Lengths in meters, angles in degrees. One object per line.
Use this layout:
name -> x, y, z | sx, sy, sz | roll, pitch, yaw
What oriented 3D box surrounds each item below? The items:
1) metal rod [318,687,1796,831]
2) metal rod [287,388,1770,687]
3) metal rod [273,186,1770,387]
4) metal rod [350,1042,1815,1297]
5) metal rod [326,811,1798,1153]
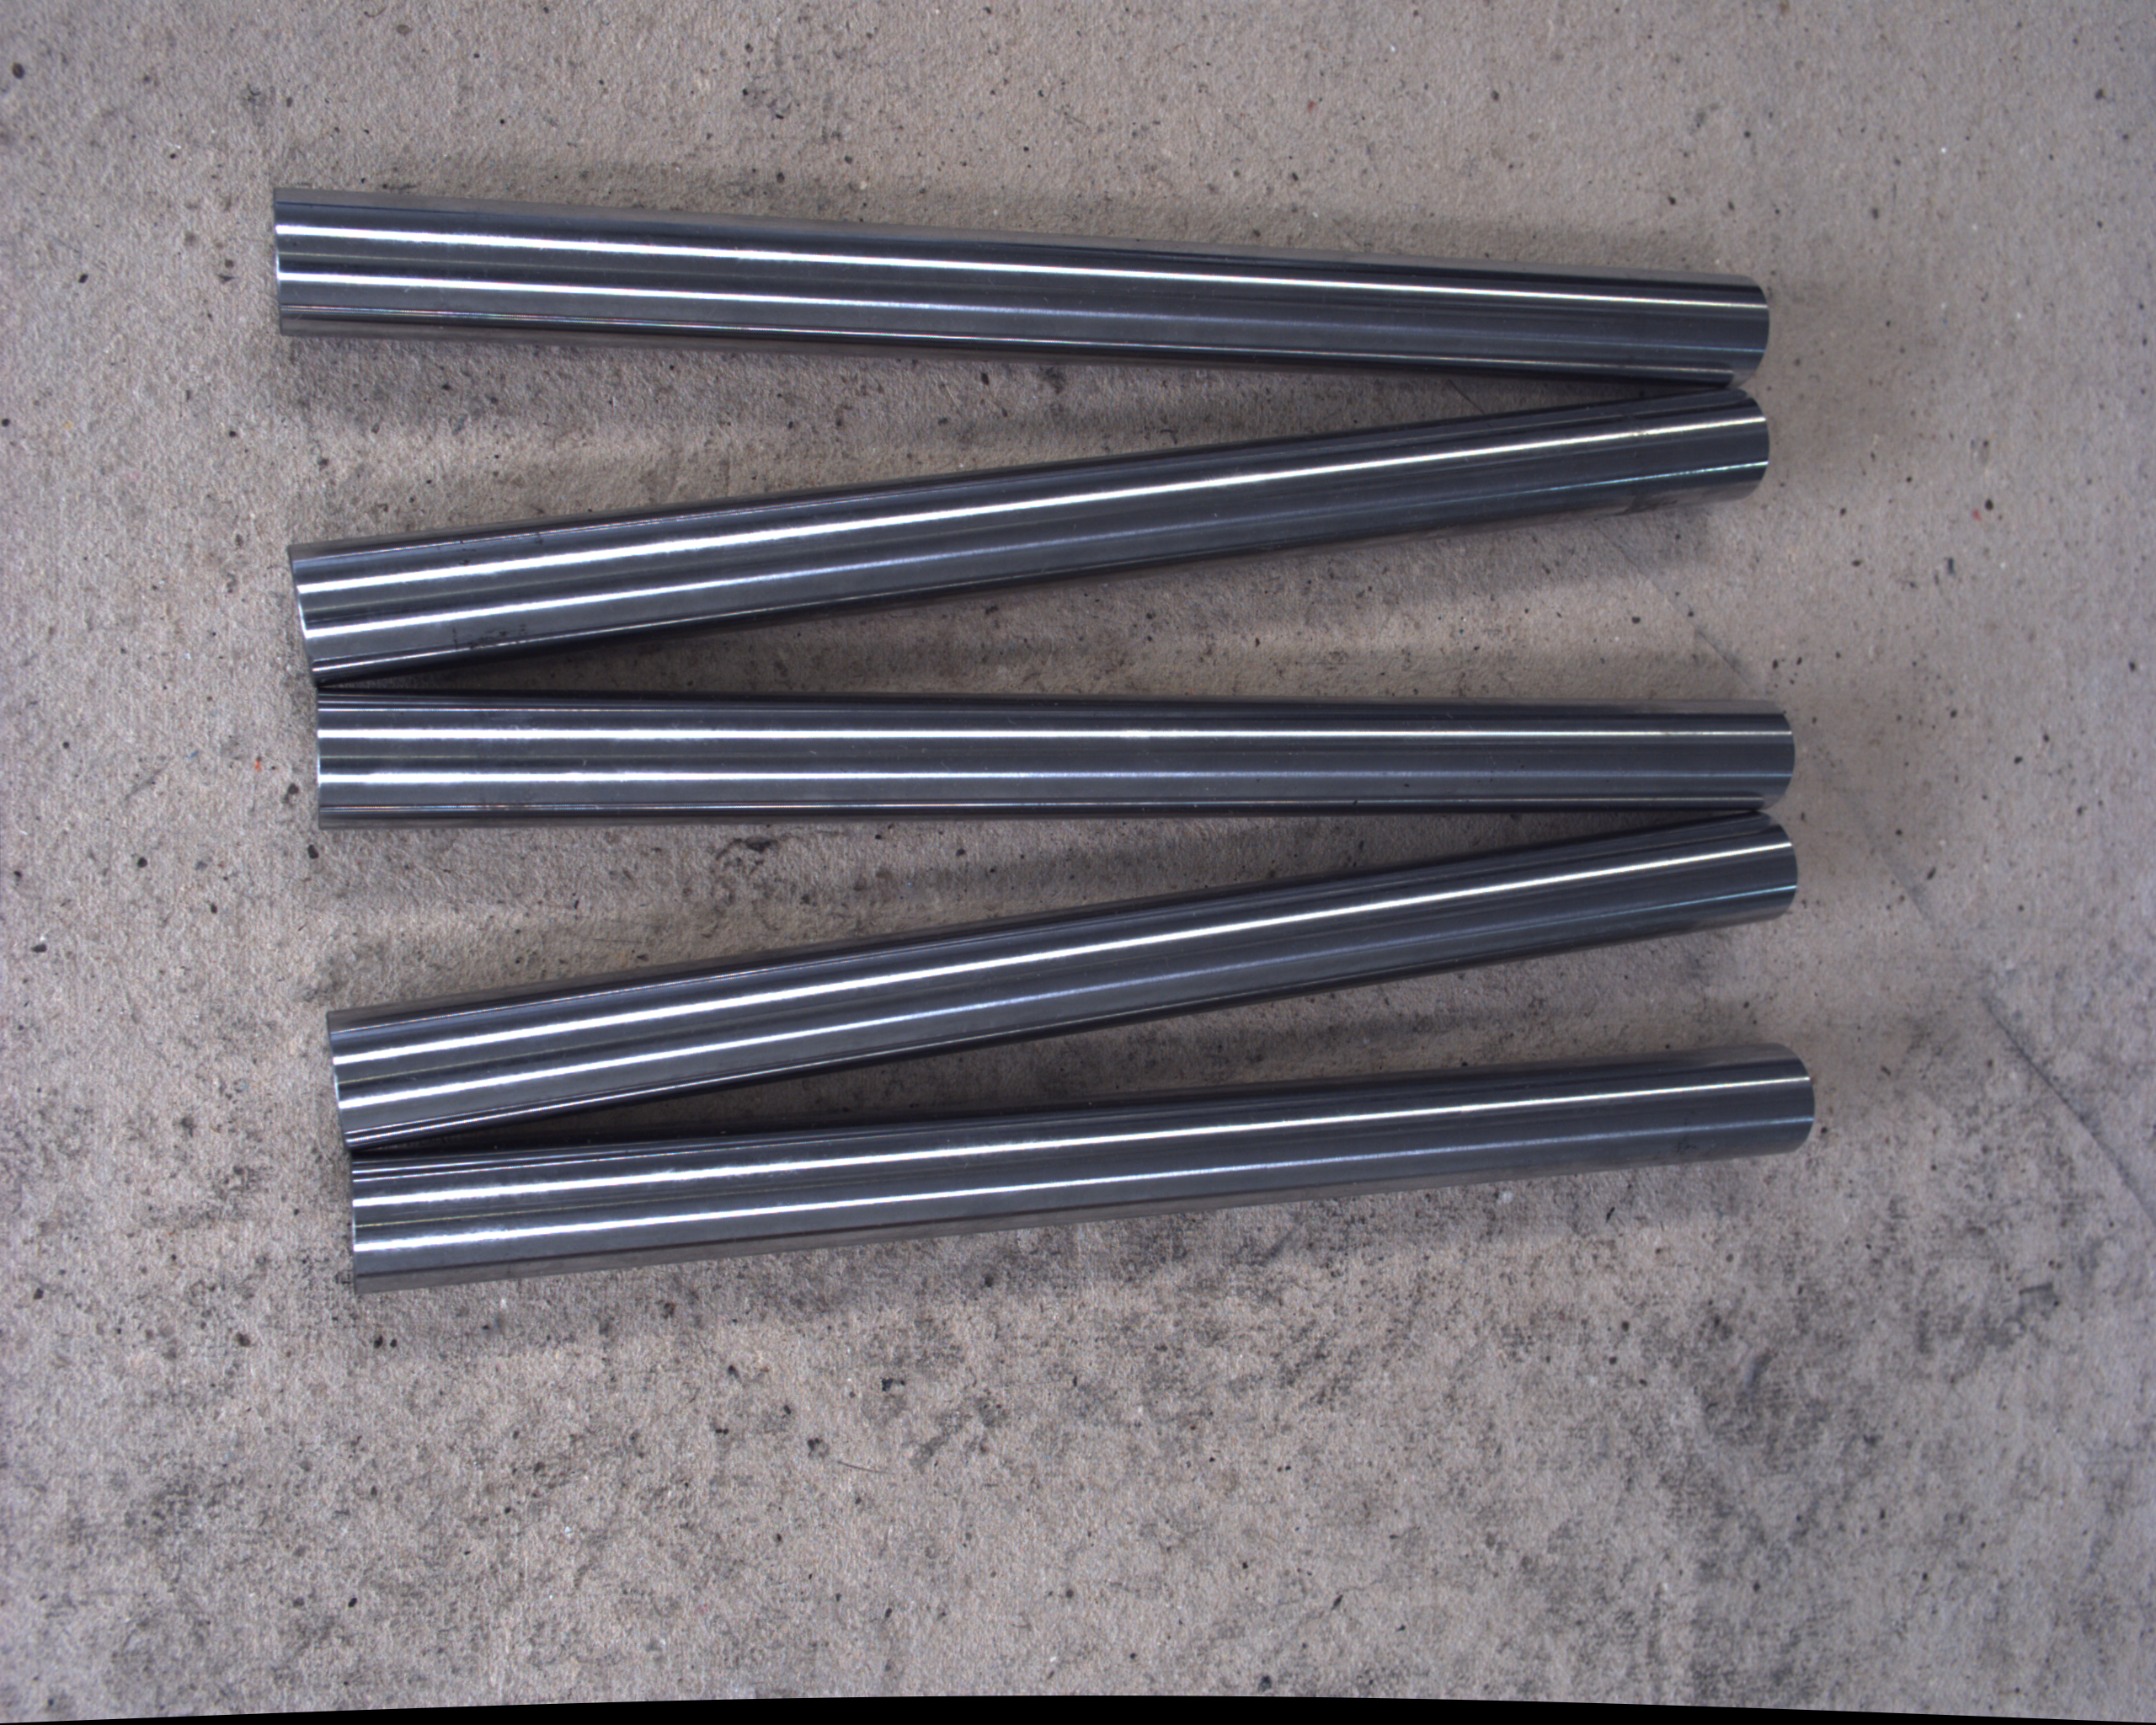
metal rod -> 0.010, -0.021, 0.414 | 0.302, 0.025, 0.025 | -1, 91, -20
metal rod -> 0.005, -0.068, 0.412 | 0.302, 0.025, 0.025 | -10, 94, -20
metal rod -> 0.004, -0.111, 0.411 | 0.303, 0.025, 0.025 | -3, 91, -20
metal rod -> 0.015, 0.058, 0.416 | 0.303, 0.025, 0.025 | -2, 91, -20
metal rod -> 0.012, 0.019, 0.415 | 0.302, 0.025, 0.025 | -8, 93, -20
